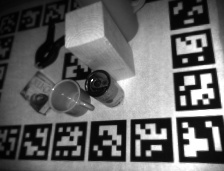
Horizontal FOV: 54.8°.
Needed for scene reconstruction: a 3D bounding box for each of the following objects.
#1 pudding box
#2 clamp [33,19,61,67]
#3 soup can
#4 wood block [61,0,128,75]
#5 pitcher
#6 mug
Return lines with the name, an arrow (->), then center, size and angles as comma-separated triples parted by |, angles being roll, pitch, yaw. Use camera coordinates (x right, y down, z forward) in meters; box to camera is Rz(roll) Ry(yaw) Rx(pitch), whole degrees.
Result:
pudding box -> -0.233, 0.014, 0.664 | 0.112, 0.039, 0.090 | 32, 88, 29
clamp -> -0.213, -0.137, 0.718 | 0.121, 0.037, 0.165 | 23, 81, 19
soup can -> -0.027, -0.004, 0.550 | 0.067, 0.103, 0.068 | -6, 71, 20
wood block -> -0.031, -0.108, 0.529 | 0.089, 0.208, 0.090 | -10, 67, 15
pitcher -> -0.015, -0.230, 0.550 | 0.187, 0.246, 0.133 | -10, 65, 22
mug -> -0.110, 0.031, 0.582 | 0.116, 0.082, 0.093 | 30, 82, 29
